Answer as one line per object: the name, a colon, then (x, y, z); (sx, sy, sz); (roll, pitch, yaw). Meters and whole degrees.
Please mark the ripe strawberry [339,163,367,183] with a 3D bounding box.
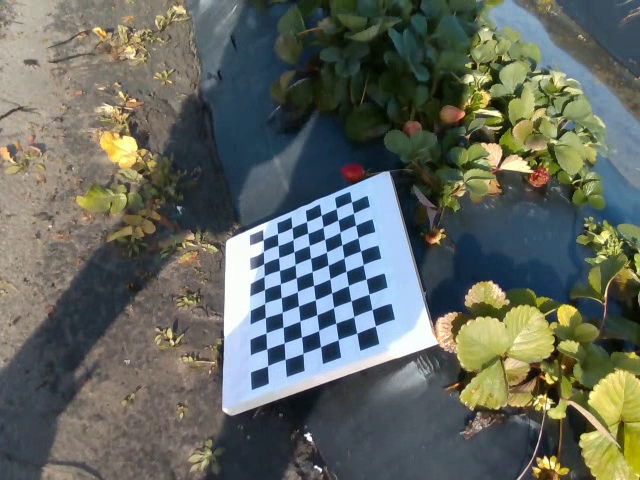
ripe strawberry: (0.039, -0.085, 0.815); (0.037, 0.035, 0.033); (15, -50, -22)
